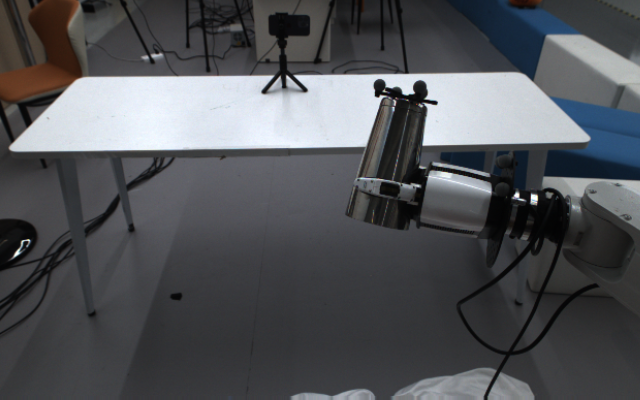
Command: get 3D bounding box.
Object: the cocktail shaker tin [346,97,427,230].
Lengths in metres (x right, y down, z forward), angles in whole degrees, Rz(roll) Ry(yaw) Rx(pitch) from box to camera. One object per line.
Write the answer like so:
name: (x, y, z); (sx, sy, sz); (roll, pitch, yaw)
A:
cocktail shaker tin: (0.099, -0.053, 0.680); (0.093, 0.170, 0.093); (13, 4, -1)
